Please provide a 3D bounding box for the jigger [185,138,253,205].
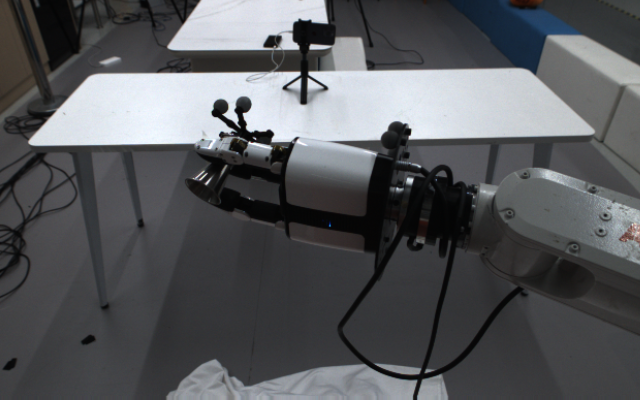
[{"bbox_3d":[-0.108,-0.037,0.522,0.043,0.043,0.071,19,62,23],"label":"jigger"}]
